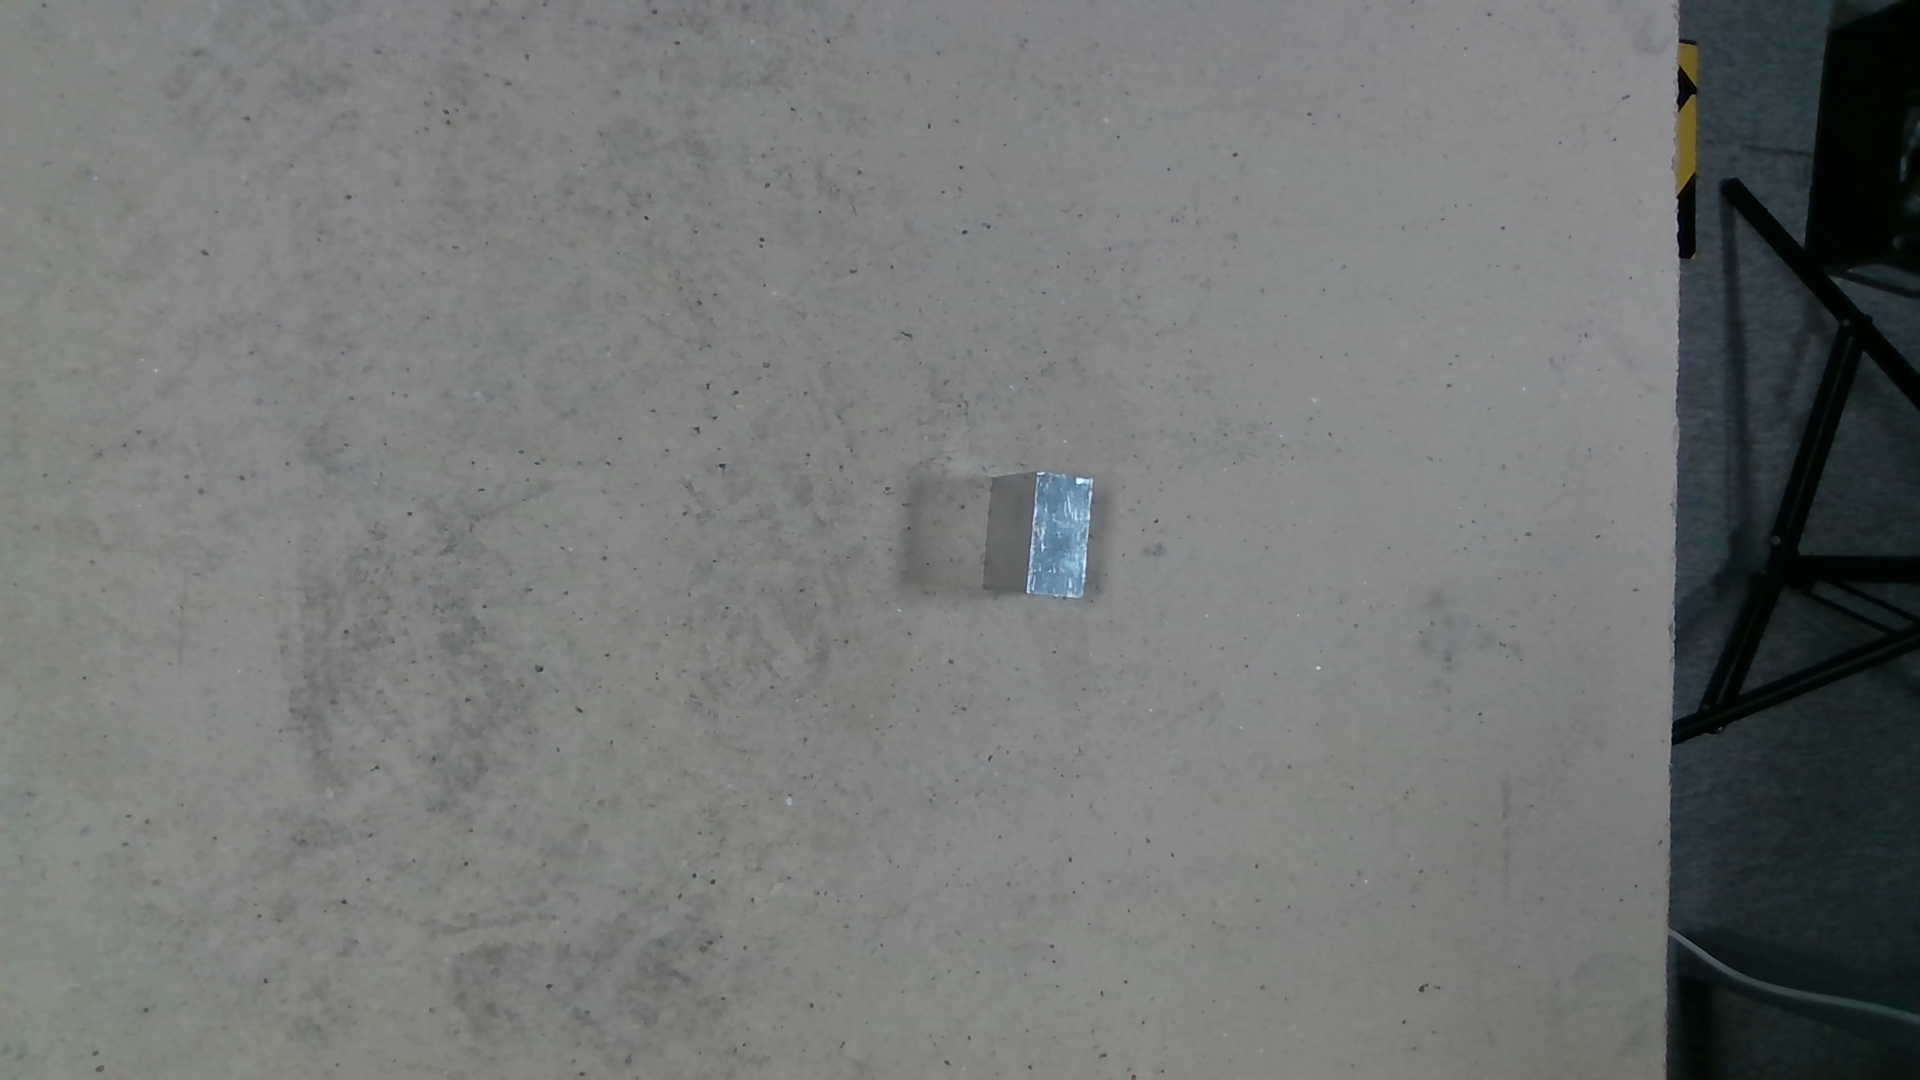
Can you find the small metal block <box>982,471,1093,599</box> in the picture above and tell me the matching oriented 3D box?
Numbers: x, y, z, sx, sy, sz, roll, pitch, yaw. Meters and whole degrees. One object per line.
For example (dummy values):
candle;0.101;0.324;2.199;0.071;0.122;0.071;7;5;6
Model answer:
small metal block;0.032;-0.002;0.584;0.025;0.050;0.050;6;88;-20
